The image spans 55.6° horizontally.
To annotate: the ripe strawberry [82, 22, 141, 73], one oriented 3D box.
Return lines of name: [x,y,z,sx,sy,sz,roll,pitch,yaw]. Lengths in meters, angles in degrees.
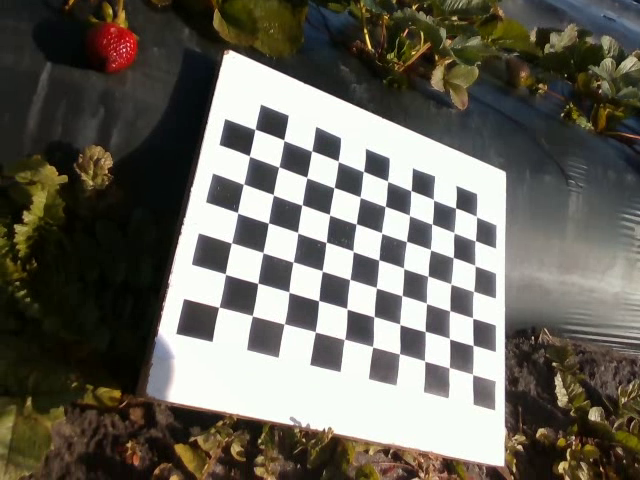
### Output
ripe strawberry: [-0.141,-0.129,0.412,0.040,0.044,0.036,-2,-30,-29]
